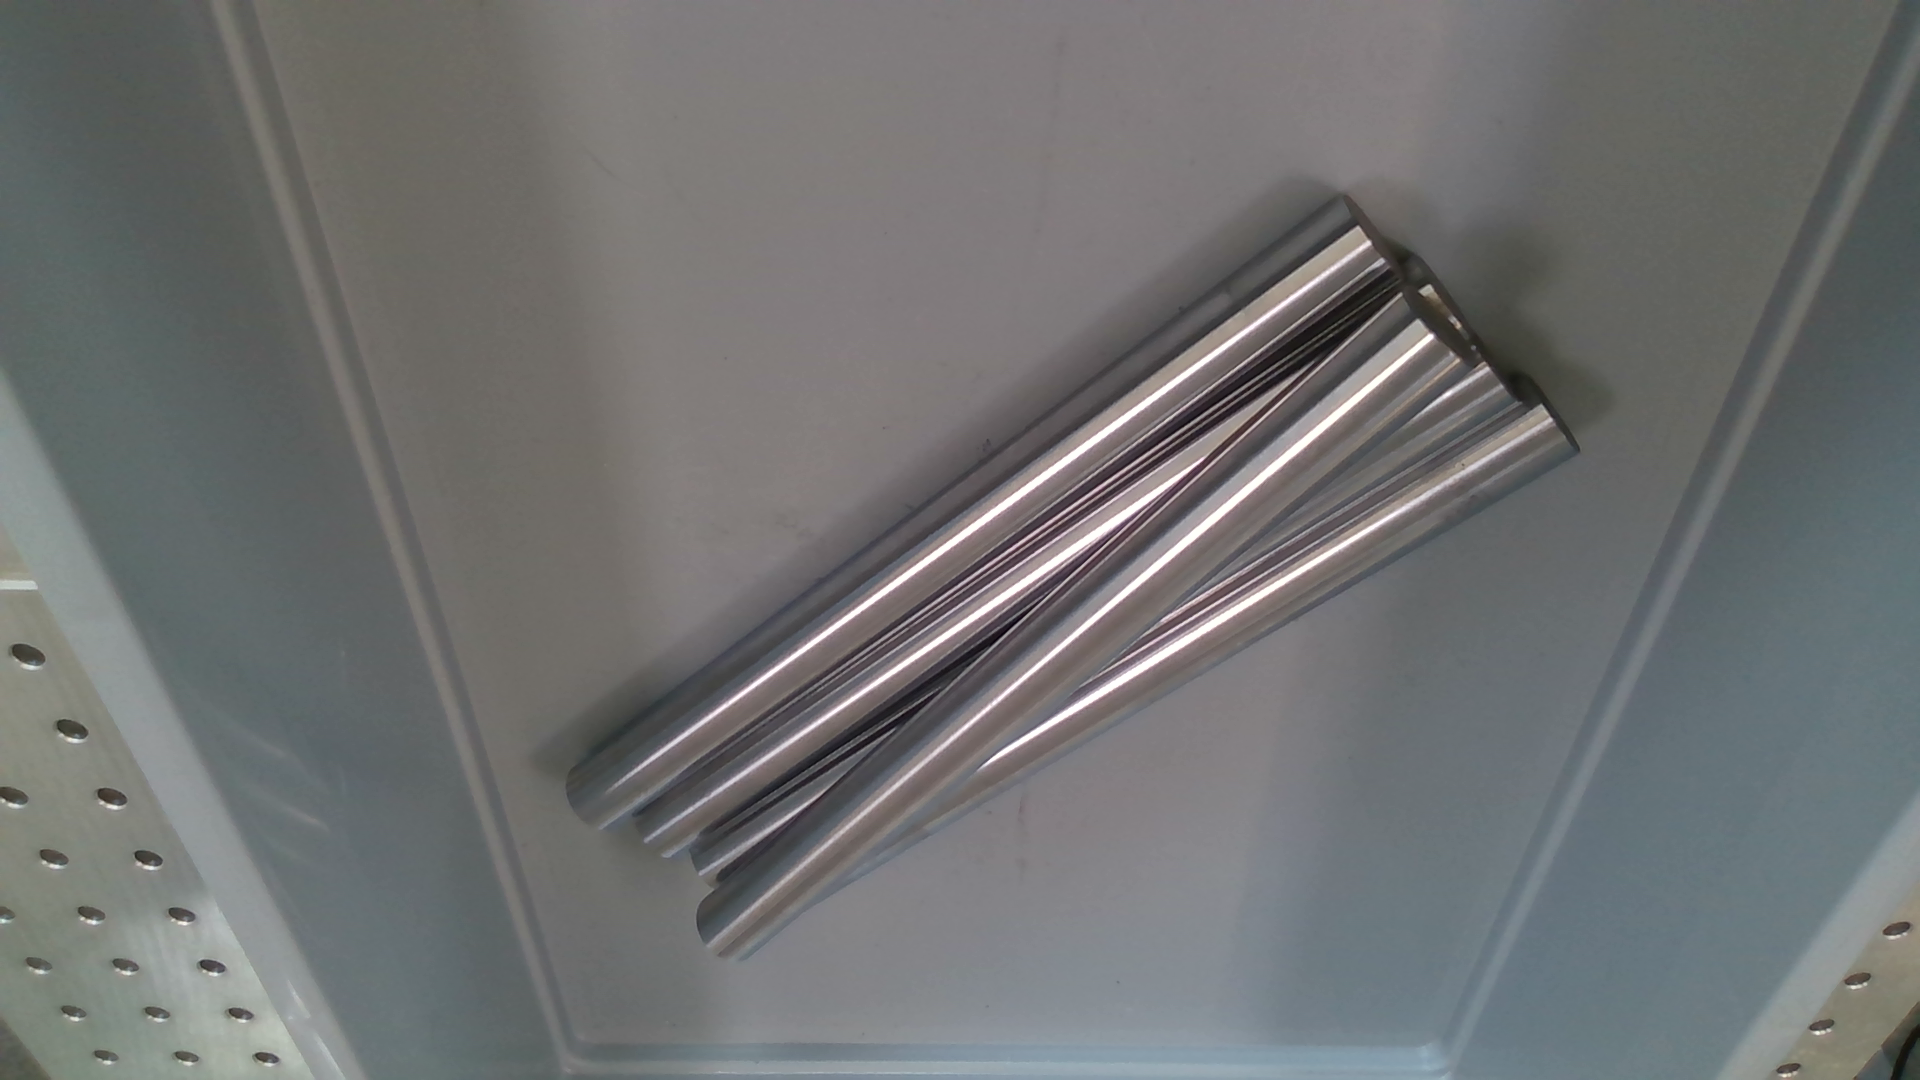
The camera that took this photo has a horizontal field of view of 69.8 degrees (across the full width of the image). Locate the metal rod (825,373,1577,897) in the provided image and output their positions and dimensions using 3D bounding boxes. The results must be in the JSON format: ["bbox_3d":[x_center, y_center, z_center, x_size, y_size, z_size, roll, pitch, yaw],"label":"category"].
[{"bbox_3d":[0.044,0.045,0.426,0.300,0.025,0.025,-35,122,26],"label":"metal rod"}]

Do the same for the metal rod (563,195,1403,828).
[{"bbox_3d":[-0.012,0.006,0.393,0.300,0.025,0.025,-35,122,26],"label":"metal rod"}]

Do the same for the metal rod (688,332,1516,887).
[{"bbox_3d":[0.024,0.033,0.415,0.300,0.025,0.025,-35,122,26],"label":"metal rod"}]

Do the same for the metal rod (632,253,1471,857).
[{"bbox_3d":[0.008,0.018,0.403,0.300,0.025,0.025,-35,122,26],"label":"metal rod"}]

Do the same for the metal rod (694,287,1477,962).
[{"bbox_3d":[0.015,0.041,0.389,0.025,0.025,0.301,32,123,-24],"label":"metal rod"}]
